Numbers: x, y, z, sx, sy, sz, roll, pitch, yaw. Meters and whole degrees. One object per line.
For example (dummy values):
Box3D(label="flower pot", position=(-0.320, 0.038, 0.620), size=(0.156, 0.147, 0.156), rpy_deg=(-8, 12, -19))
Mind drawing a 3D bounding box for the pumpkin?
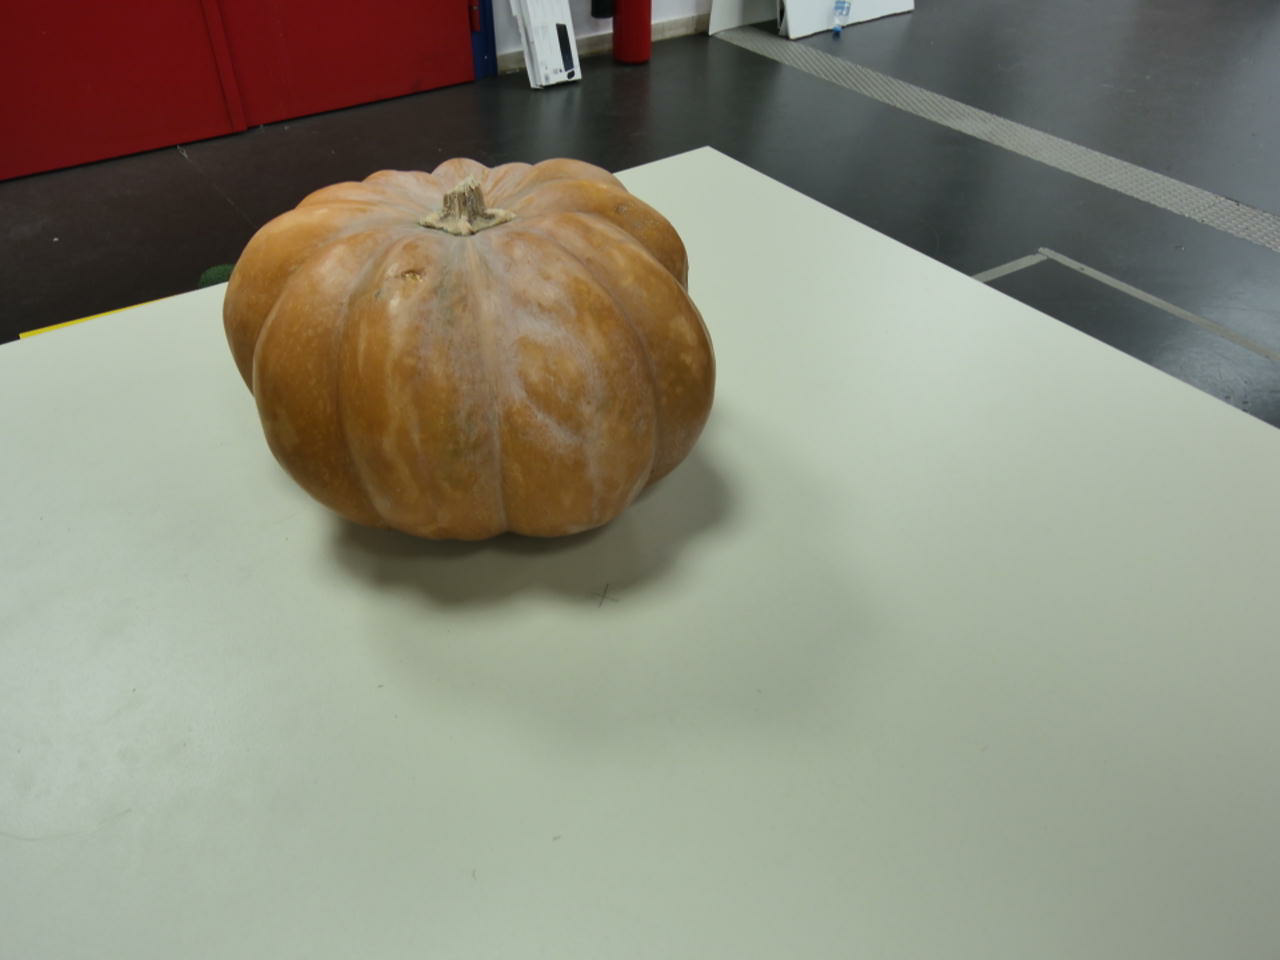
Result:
Box3D(label="pumpkin", position=(-0.089, -0.078, 0.564), size=(0.277, 0.181, 0.277), rpy_deg=(0, 39, 0))
